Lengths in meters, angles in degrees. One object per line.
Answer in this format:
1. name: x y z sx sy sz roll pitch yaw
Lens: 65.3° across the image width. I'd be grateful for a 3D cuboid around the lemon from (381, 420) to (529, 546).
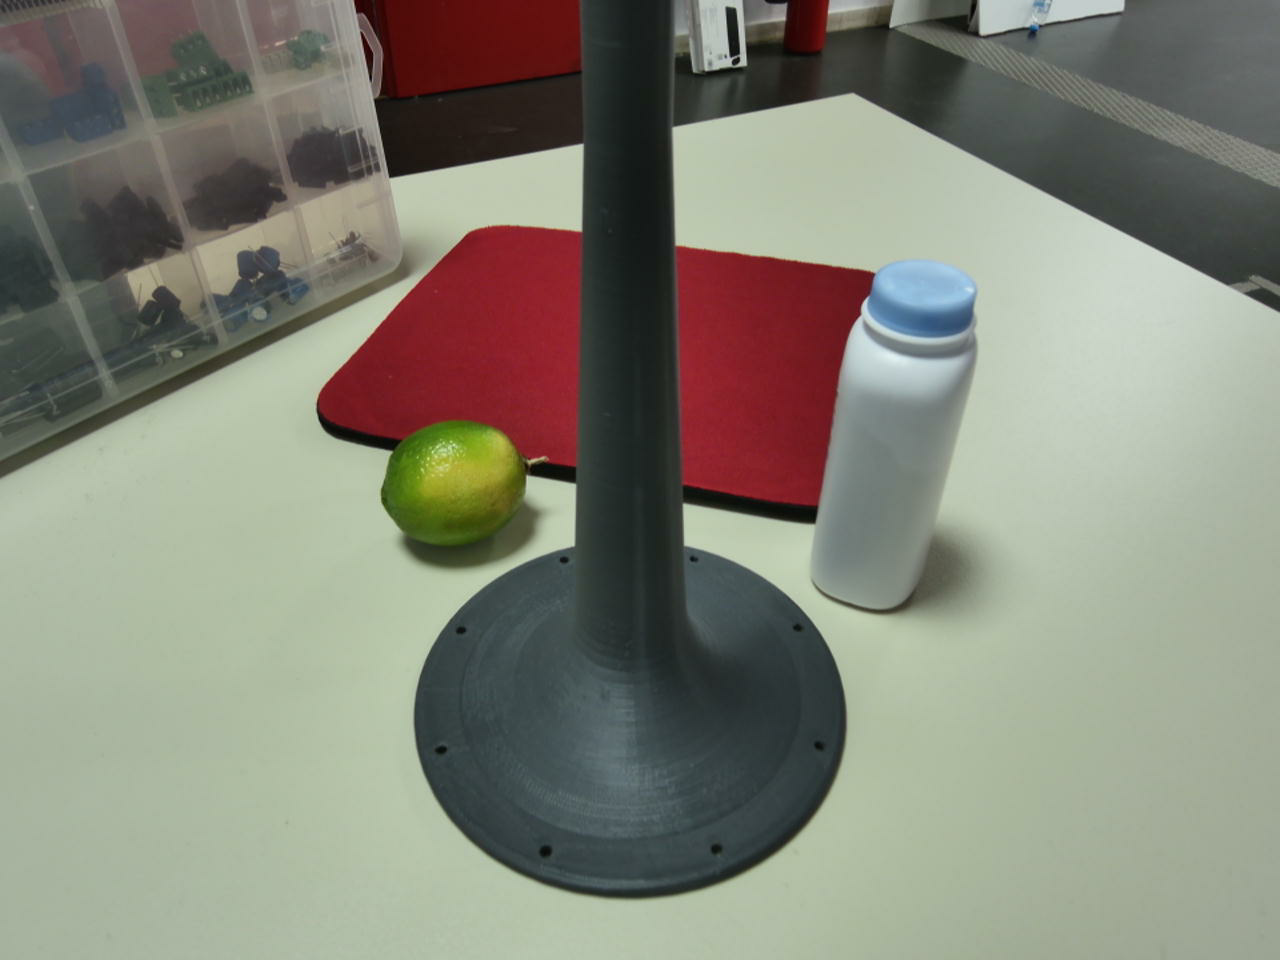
1. lemon: -0.077 0.001 0.411 0.055 0.050 0.054 16 40 18
